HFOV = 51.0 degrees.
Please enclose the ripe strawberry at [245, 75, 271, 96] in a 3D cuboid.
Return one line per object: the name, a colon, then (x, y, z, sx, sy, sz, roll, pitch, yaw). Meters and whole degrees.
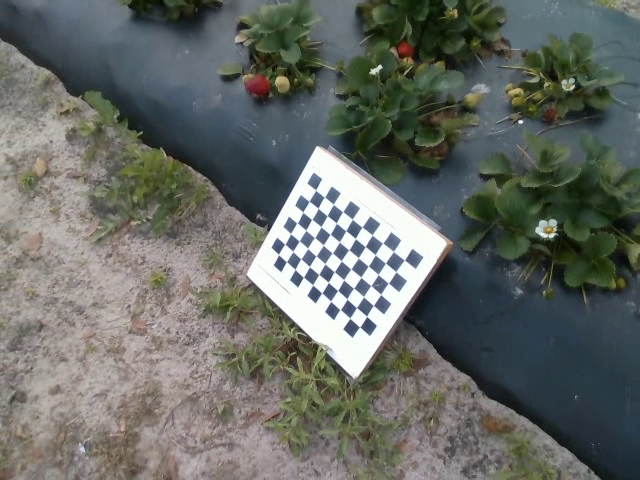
ripe strawberry: (-0.128, -0.305, 1.318, 0.046, 0.046, 0.059, 34, 38, 32)
